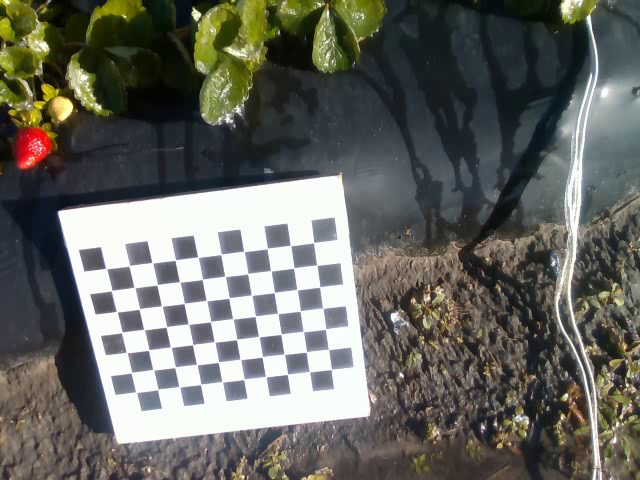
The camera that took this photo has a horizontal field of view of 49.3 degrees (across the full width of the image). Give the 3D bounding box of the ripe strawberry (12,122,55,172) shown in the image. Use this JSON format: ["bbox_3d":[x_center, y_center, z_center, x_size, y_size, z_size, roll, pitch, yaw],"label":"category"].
[{"bbox_3d":[-0.225,-0.067,0.540,0.039,0.039,0.040,-14,-49,17],"label":"ripe strawberry"}]
